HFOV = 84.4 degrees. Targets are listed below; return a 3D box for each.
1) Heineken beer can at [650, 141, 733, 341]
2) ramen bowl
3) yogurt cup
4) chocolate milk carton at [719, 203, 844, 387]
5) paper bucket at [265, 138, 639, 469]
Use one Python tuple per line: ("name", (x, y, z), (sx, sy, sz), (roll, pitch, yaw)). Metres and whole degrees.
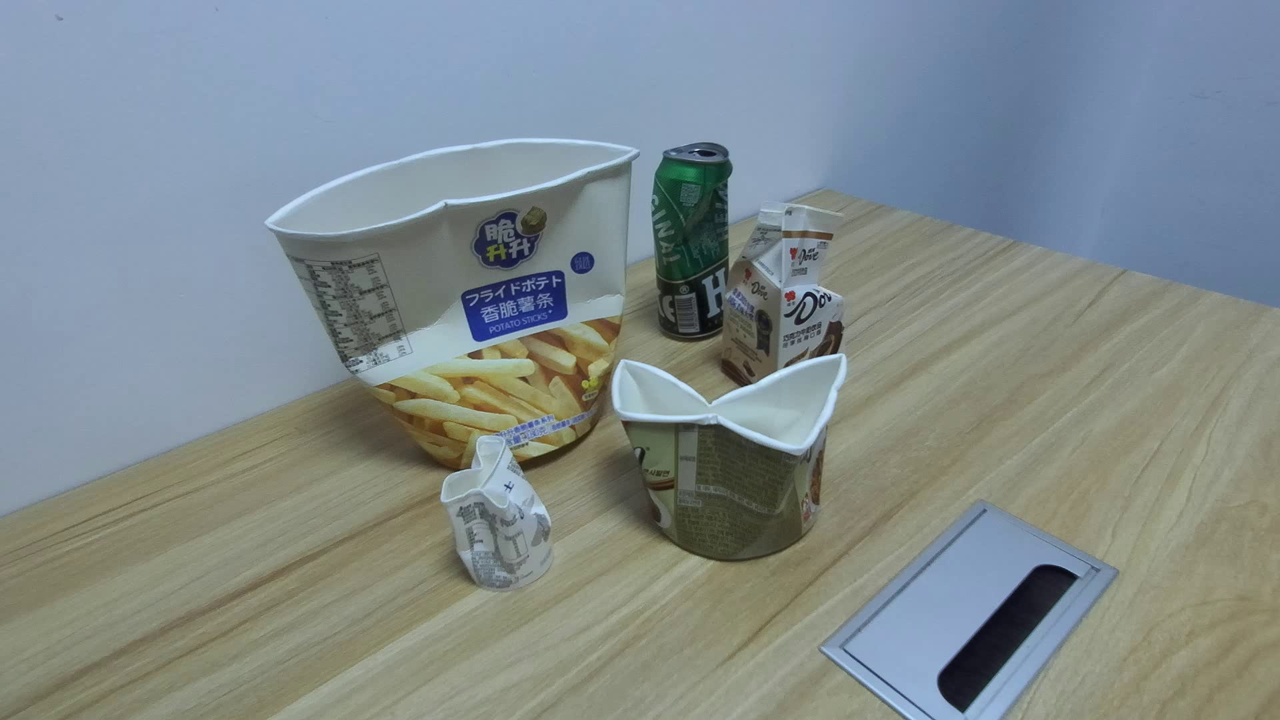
("Heineken beer can", (0.046, -0.099, 0.613), (0.078, 0.164, 0.066), (-6, 31, -9))
("ramen bowl", (0.051, 0.049, 0.438), (0.128, 0.093, 0.112), (10, 36, 21))
("yogurt cup", (-0.084, 0.091, 0.415), (0.055, 0.072, 0.055), (4, 34, 18))
("chocolate milk carton", (0.111, -0.051, 0.536), (0.076, 0.156, 0.073), (-21, 38, -25))
("paper bucket", (-0.105, -0.040, 0.505), (0.147, 0.199, 0.218), (17, 38, 29))
